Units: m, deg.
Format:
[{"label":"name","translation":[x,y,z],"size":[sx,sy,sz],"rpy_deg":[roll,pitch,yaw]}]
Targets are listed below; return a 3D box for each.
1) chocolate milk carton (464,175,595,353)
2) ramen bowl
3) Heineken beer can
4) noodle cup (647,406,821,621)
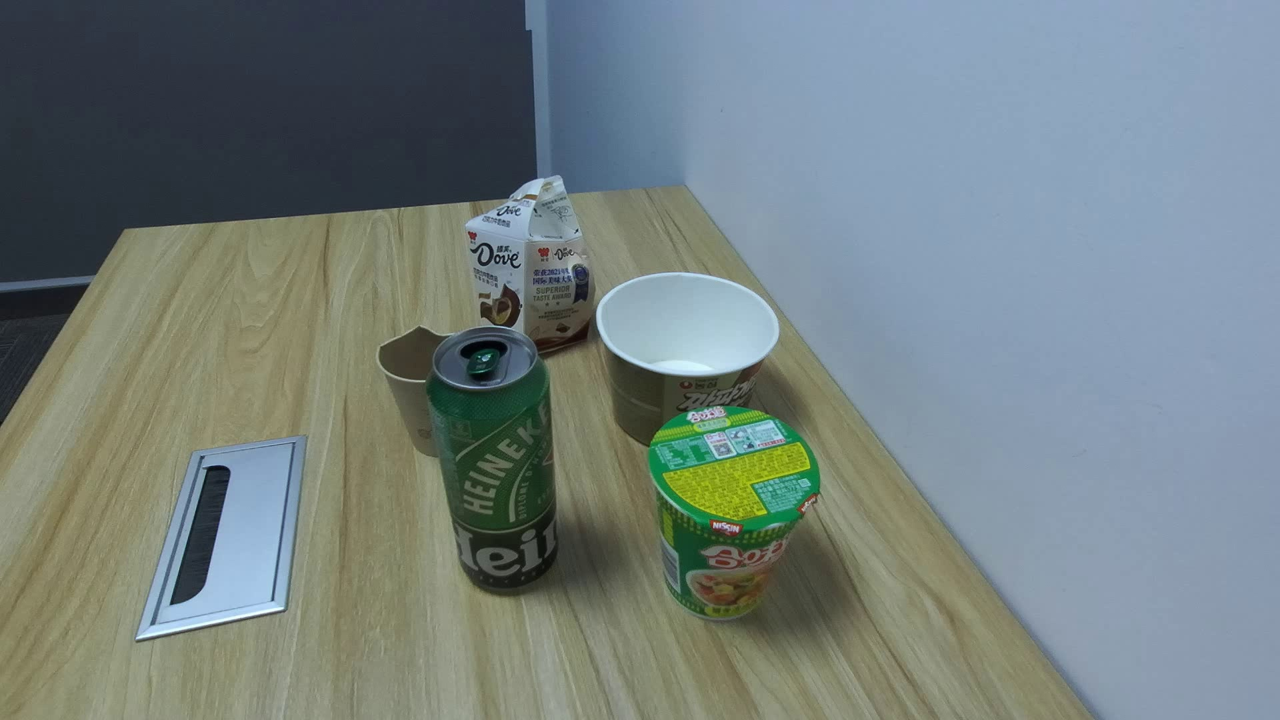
[{"label":"chocolate milk carton","translation":[-0.099,-0.086,0.639],"size":[0.077,0.155,0.089],"rpy_deg":[-26,32,-37]},{"label":"ramen bowl","translation":[0.035,0.005,0.569],"size":[0.140,0.095,0.140],"rpy_deg":[2,38,-1]},{"label":"Heineken beer can","translation":[-0.085,0.065,0.426],"size":[0.067,0.169,0.067],"rpy_deg":[1,37,-1]},{"label":"noodle cup","translation":[0.051,0.101,0.434],"size":[0.097,0.110,0.097],"rpy_deg":[2,39,-2]}]
